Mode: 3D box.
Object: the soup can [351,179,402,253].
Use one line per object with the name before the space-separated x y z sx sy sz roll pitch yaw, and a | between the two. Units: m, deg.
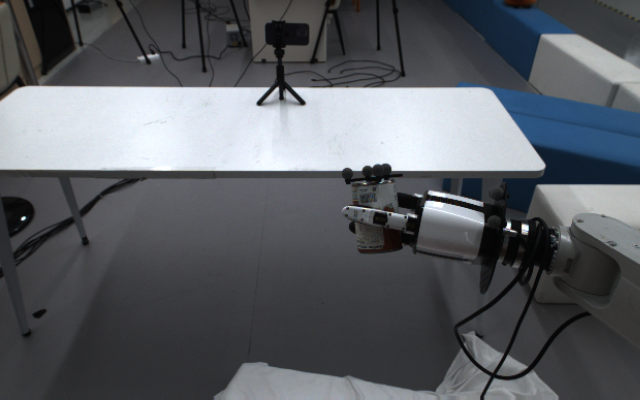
soup can | 0.084 0.023 0.710 0.067 0.101 0.067 -7 3 0
